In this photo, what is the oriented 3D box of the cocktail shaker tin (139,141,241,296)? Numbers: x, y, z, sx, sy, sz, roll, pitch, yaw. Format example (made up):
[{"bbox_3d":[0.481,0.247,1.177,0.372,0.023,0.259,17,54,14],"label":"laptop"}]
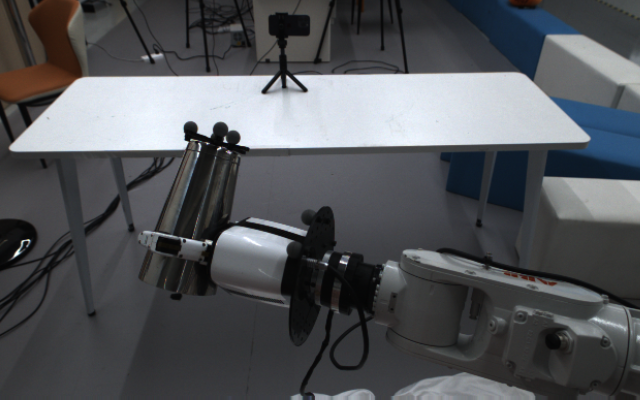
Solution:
[{"bbox_3d":[-0.149,0.021,0.584,0.093,0.170,0.093,14,-4,1],"label":"cocktail shaker tin"}]
